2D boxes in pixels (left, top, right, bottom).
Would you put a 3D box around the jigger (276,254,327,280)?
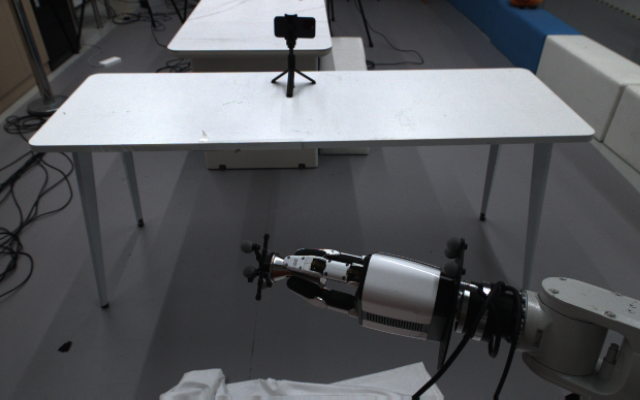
[{"bbox_3d":[-0.019,0.086,0.634,0.071,0.043,0.043,1,34,14],"label":"jigger"}]
